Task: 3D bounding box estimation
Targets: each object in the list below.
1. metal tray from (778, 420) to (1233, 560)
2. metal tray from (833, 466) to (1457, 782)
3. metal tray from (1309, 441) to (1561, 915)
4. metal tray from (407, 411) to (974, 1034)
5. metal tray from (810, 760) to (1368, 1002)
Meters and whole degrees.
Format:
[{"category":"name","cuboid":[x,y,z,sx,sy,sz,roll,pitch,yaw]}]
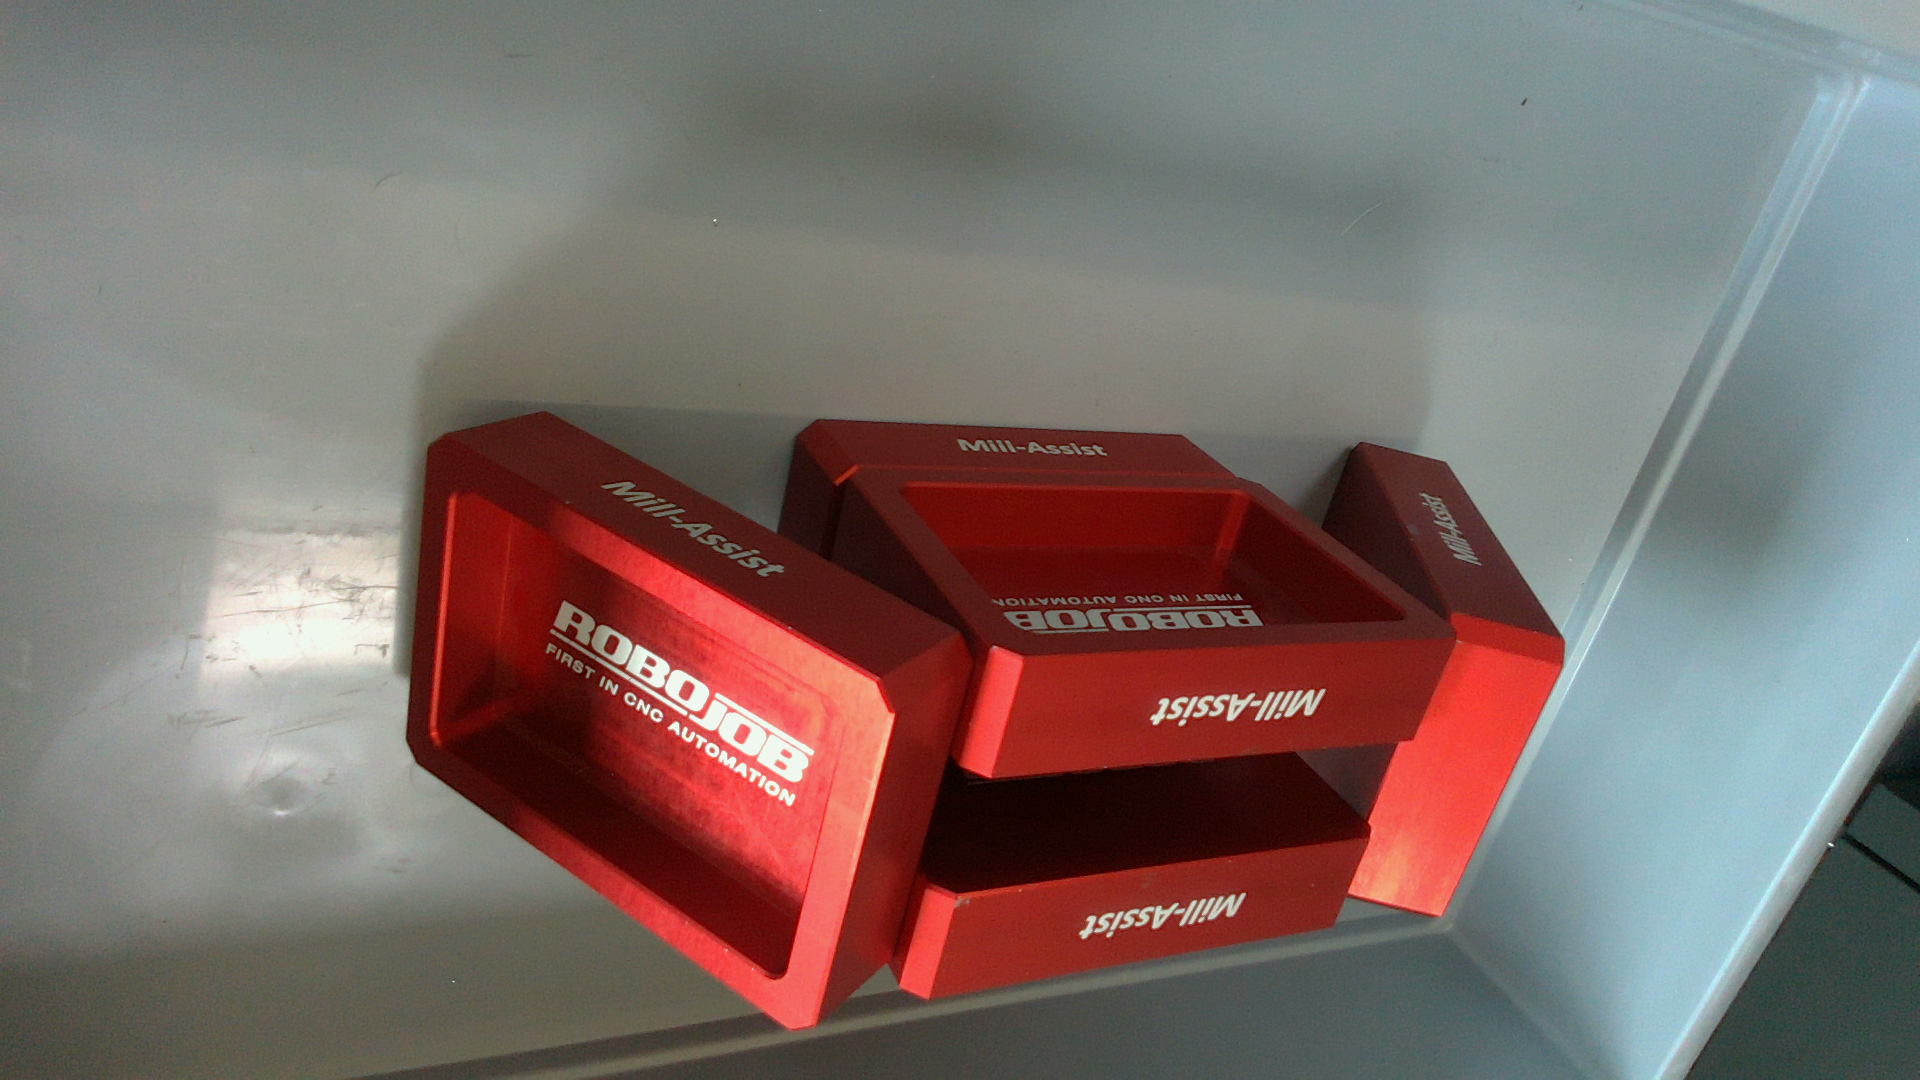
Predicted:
[{"category":"metal tray","cuboid":[0.011,0.014,0.399,0.130,0.030,0.090,-1,119,-29]},{"category":"metal tray","cuboid":[0.044,0.016,0.340,0.130,0.090,0.030,0,118,-29]},{"category":"metal tray","cuboid":[0.129,0.036,0.413,0.030,0.130,0.090,14,115,-2]},{"category":"metal tray","cuboid":[-0.067,0.037,0.309,0.030,0.130,0.090,-26,137,-54]},{"category":"metal tray","cuboid":[0.030,0.069,0.366,0.130,0.090,0.030,-1,118,-29]}]
